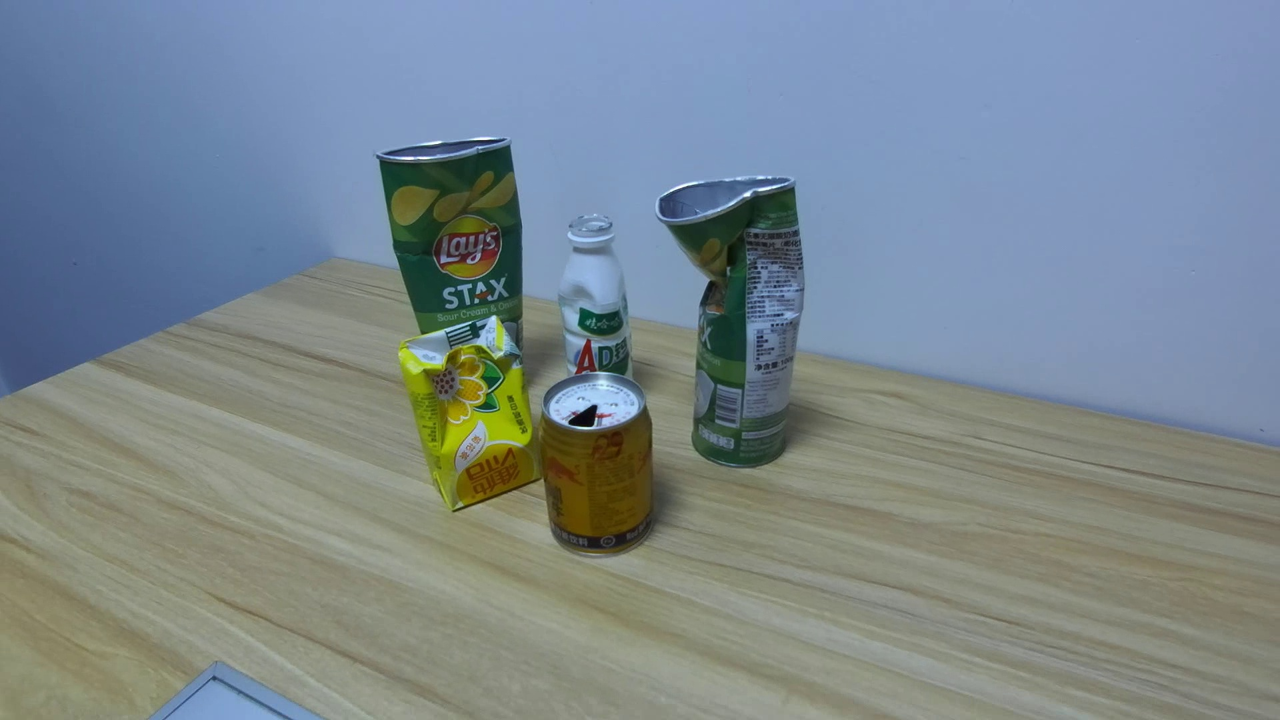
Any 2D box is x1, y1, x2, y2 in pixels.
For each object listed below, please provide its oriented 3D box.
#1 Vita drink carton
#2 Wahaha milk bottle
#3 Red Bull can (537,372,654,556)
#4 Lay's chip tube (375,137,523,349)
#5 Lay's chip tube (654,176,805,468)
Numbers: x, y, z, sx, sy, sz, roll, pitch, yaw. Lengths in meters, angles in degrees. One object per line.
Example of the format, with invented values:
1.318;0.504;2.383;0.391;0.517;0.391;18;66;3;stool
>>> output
-0.108;0.035;0.460;0.071;0.110;0.046;-18;31;-27;Vita drink carton
-0.034;-0.032;0.532;0.055;0.149;0.055;-2;32;1;Wahaha milk bottle
-0.025;0.062;0.424;0.067;0.093;0.067;-1;30;1;Red Bull can
-0.132;-0.061;0.539;0.068;0.200;0.075;12;33;21;Lay's chip tube
0.061;-0.022;0.464;0.071;0.200;0.078;-23;34;-21;Lay's chip tube
